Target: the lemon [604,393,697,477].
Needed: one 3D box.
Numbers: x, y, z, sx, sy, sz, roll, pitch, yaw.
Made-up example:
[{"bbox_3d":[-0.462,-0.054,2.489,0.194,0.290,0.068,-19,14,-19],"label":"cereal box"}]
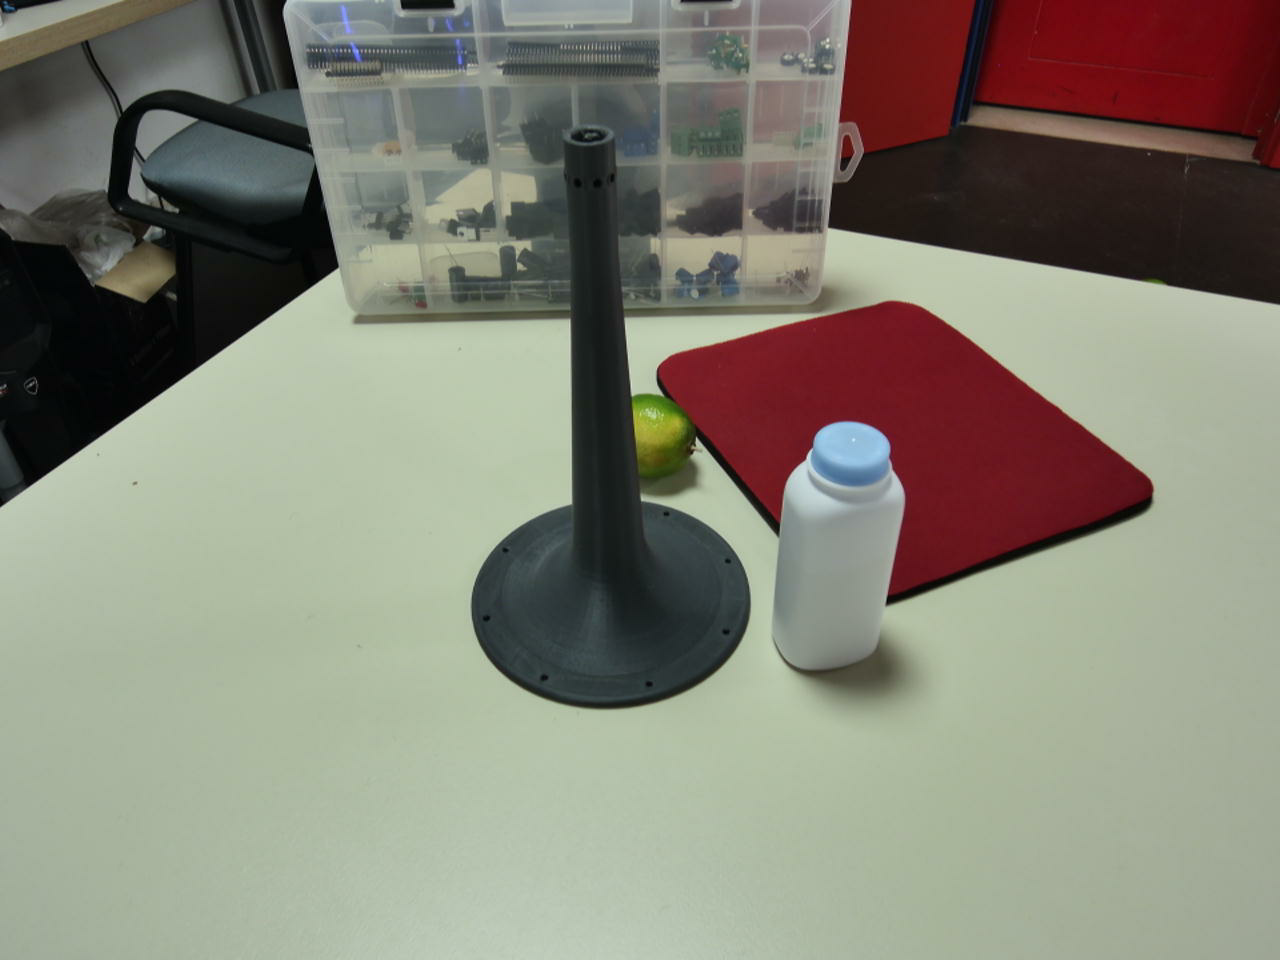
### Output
[{"bbox_3d":[0.006,-0.028,0.617,0.054,0.050,0.055,-9,39,-12],"label":"lemon"}]
